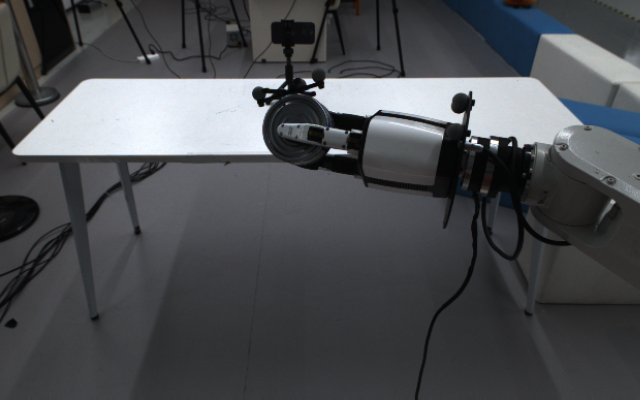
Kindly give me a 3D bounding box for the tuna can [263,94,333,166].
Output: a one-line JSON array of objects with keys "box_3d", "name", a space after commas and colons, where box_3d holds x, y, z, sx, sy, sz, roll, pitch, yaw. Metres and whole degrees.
[{"box_3d": [-0.022, -0.081, 0.594, 0.085, 0.085, 0.034, 12, 3, 14], "name": "tuna can"}]
